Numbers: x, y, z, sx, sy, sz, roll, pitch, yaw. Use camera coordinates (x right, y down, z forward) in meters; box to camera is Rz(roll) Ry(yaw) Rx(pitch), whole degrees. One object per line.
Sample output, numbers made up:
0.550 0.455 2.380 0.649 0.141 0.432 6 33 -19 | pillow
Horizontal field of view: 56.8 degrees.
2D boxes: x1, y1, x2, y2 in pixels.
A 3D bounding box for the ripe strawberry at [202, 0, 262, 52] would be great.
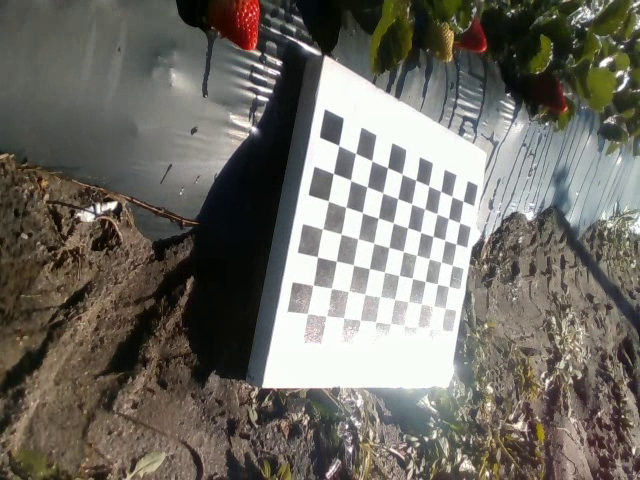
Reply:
-0.057 -0.150 0.393 0.039 0.053 0.040 -17 0 -44 | ripe strawberry
